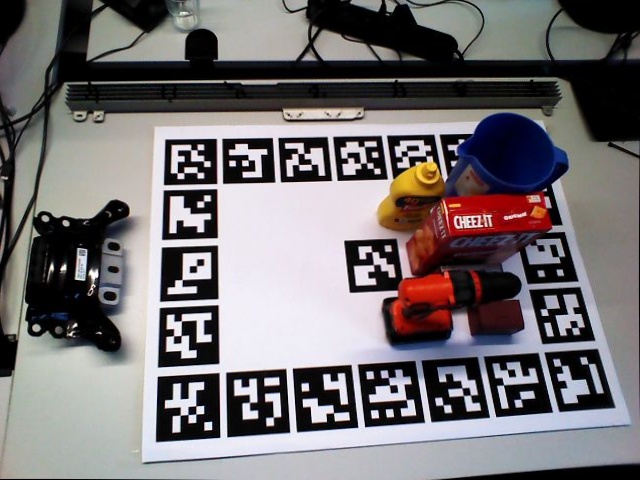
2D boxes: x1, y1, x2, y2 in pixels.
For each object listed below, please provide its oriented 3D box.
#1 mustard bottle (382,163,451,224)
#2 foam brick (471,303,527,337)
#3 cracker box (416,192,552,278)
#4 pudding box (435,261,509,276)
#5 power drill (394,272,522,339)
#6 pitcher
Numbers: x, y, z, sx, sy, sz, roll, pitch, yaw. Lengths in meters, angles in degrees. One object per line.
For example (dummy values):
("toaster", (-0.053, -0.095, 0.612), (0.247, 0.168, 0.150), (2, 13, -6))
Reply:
("mustard bottle", (0.171, -0.088, 0.888), (0.096, 0.192, 0.058), (12, 70, 0))
("foam brick", (0.310, 0.139, 0.900), (0.078, 0.051, 0.052), (1, 71, -4))
("cracker box", (0.262, 0.003, 0.854), (0.164, 0.214, 0.071), (-3, 68, -4))
("pudding box", (0.252, 0.068, 0.887), (0.114, 0.090, 0.038), (-1, 68, -2))
("power drill", (0.199, 0.101, 0.795), (0.185, 0.188, 0.057), (-2, 66, -6))
("pitcher", (0.304, -0.095, 0.889), (0.189, 0.243, 0.132), (4, 69, -1))
